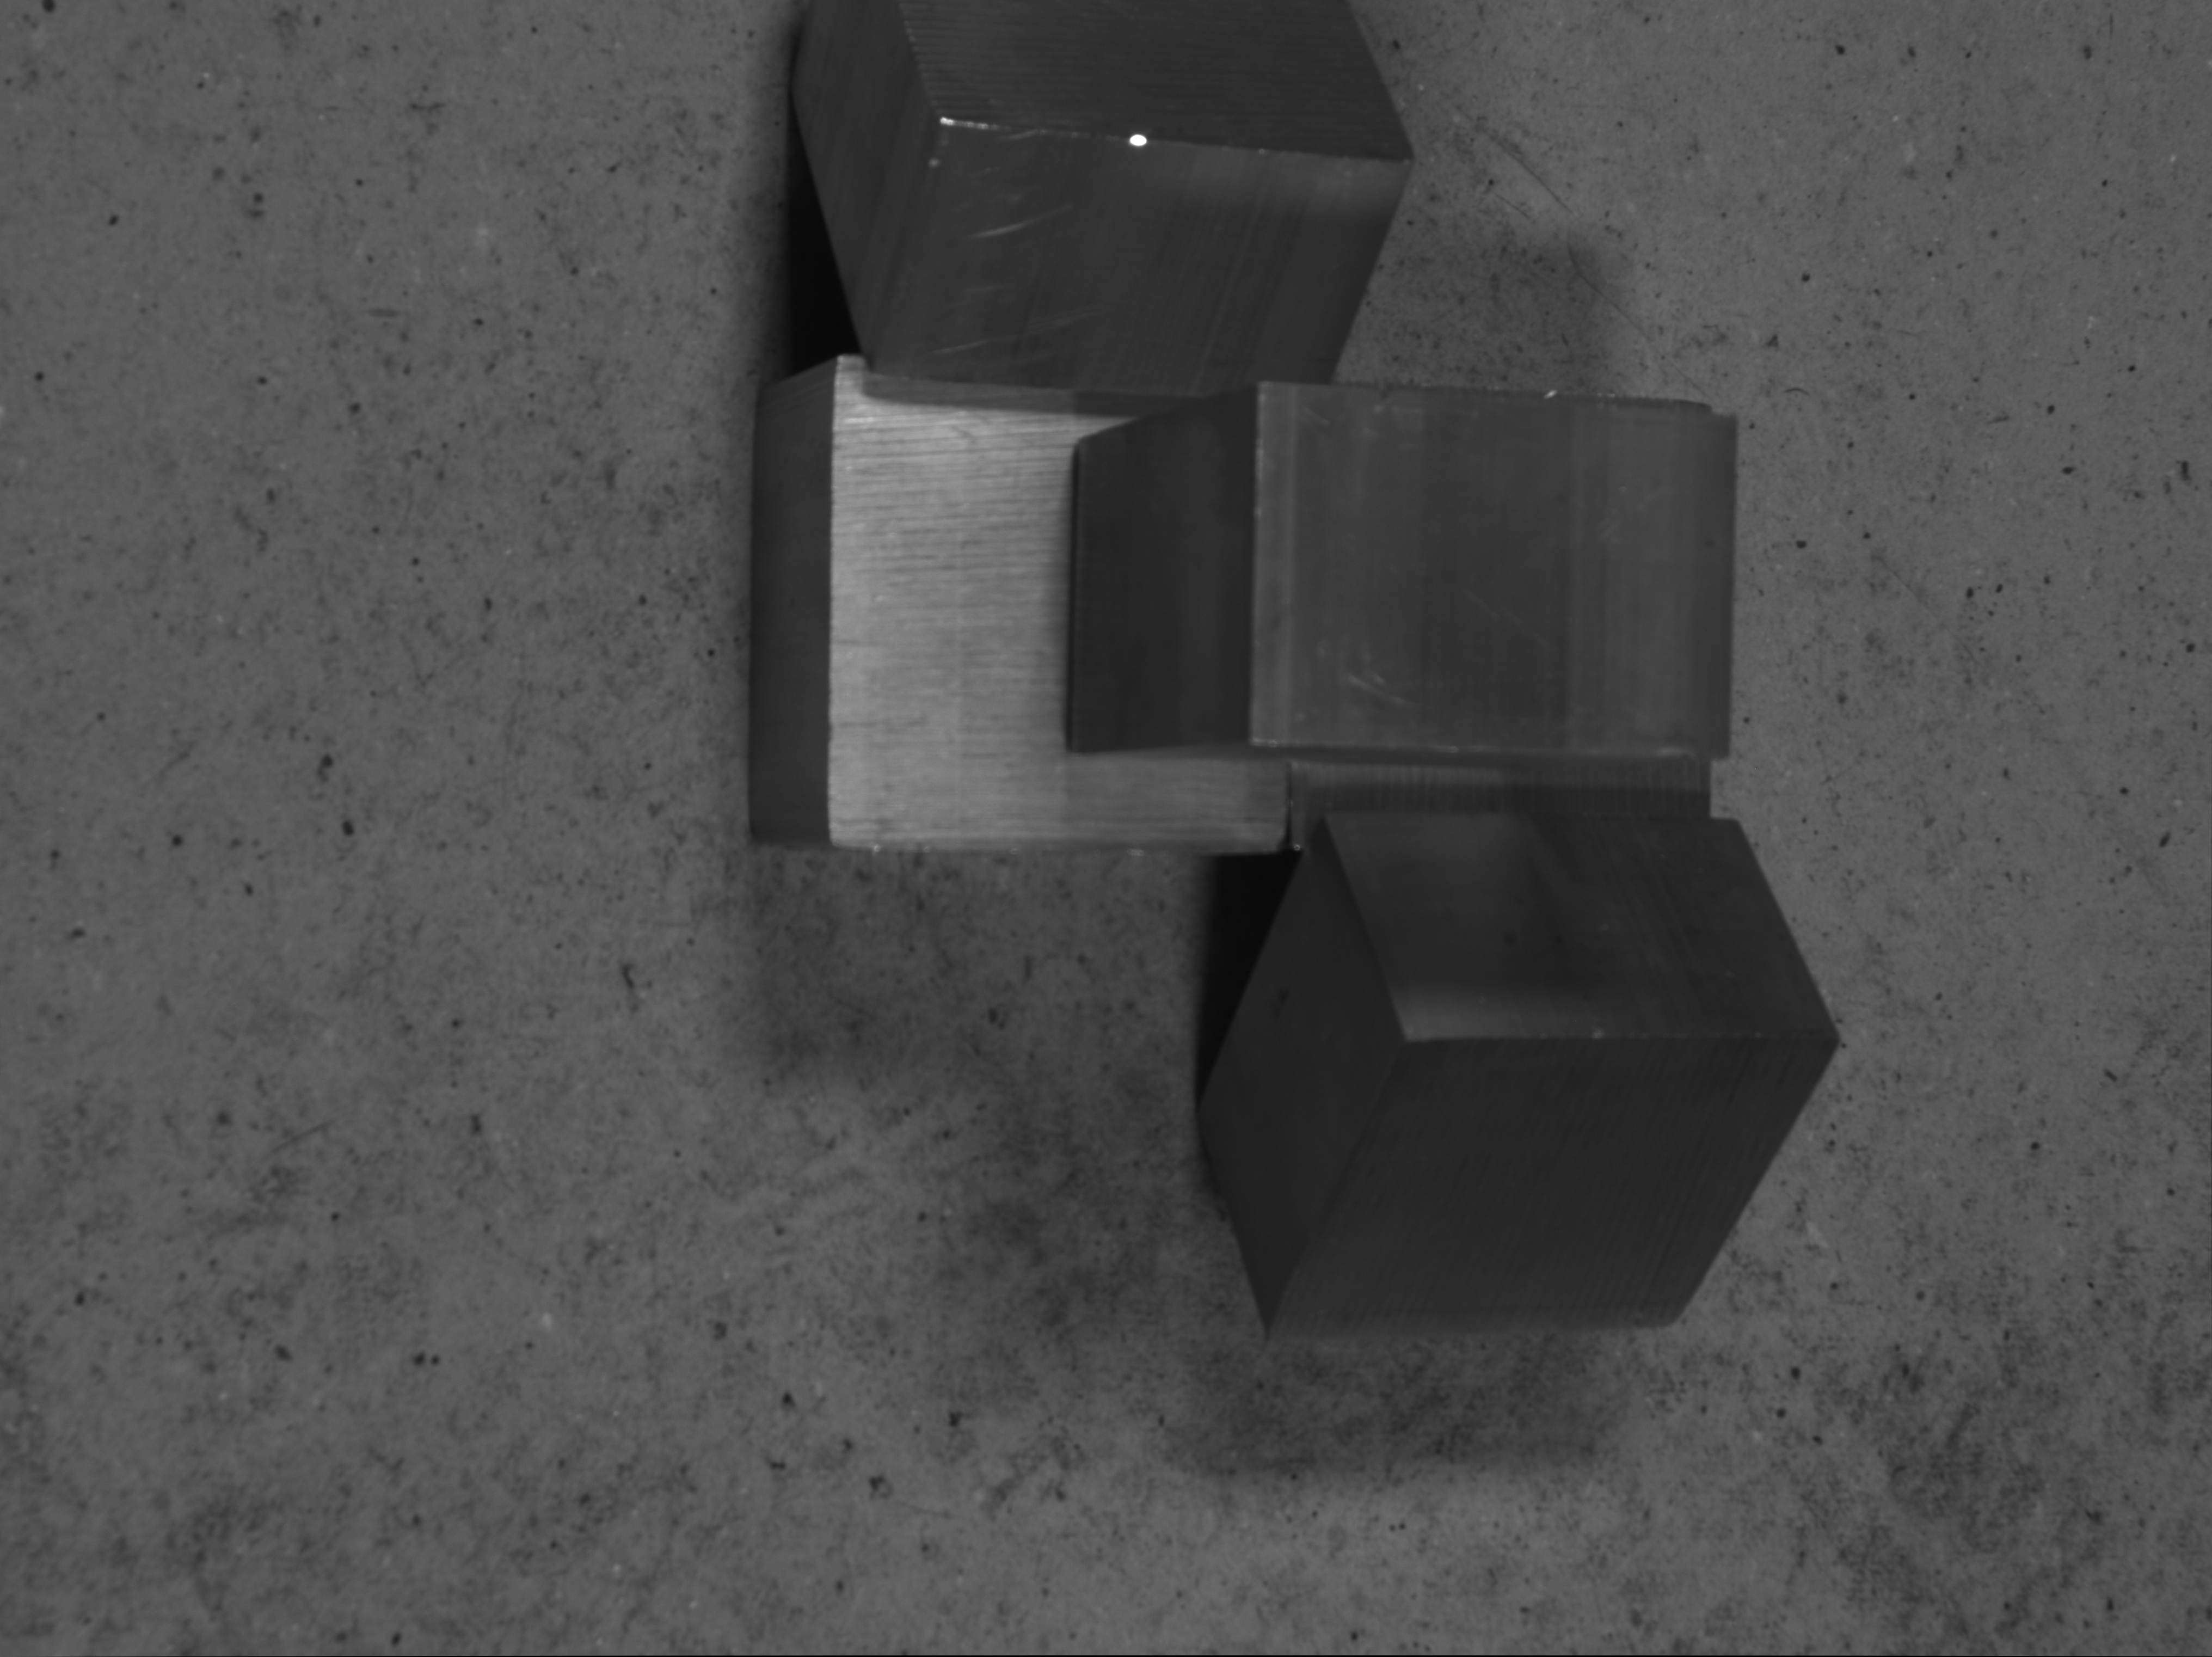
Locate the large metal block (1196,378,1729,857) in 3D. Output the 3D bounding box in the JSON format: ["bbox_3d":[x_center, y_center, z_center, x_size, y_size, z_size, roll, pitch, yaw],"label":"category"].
[{"bbox_3d":[0.063,-0.035,0.651,0.080,0.050,0.080,1,90,-20],"label":"large metal block"}]

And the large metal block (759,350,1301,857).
[{"bbox_3d":[-0.013,-0.036,0.624,0.080,0.050,0.080,1,90,-20],"label":"large metal block"}]

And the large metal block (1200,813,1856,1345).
[{"bbox_3d":[0.070,0.044,0.633,0.080,0.080,0.050,1,46,-20],"label":"large metal block"}]

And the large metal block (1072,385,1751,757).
[{"bbox_3d":[0.046,-0.038,0.578,0.080,0.080,0.050,2,89,-20],"label":"large metal block"}]

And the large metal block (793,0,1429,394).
[{"bbox_3d":[-0.002,-0.118,0.608,0.080,0.050,0.080,1,46,-19],"label":"large metal block"}]
